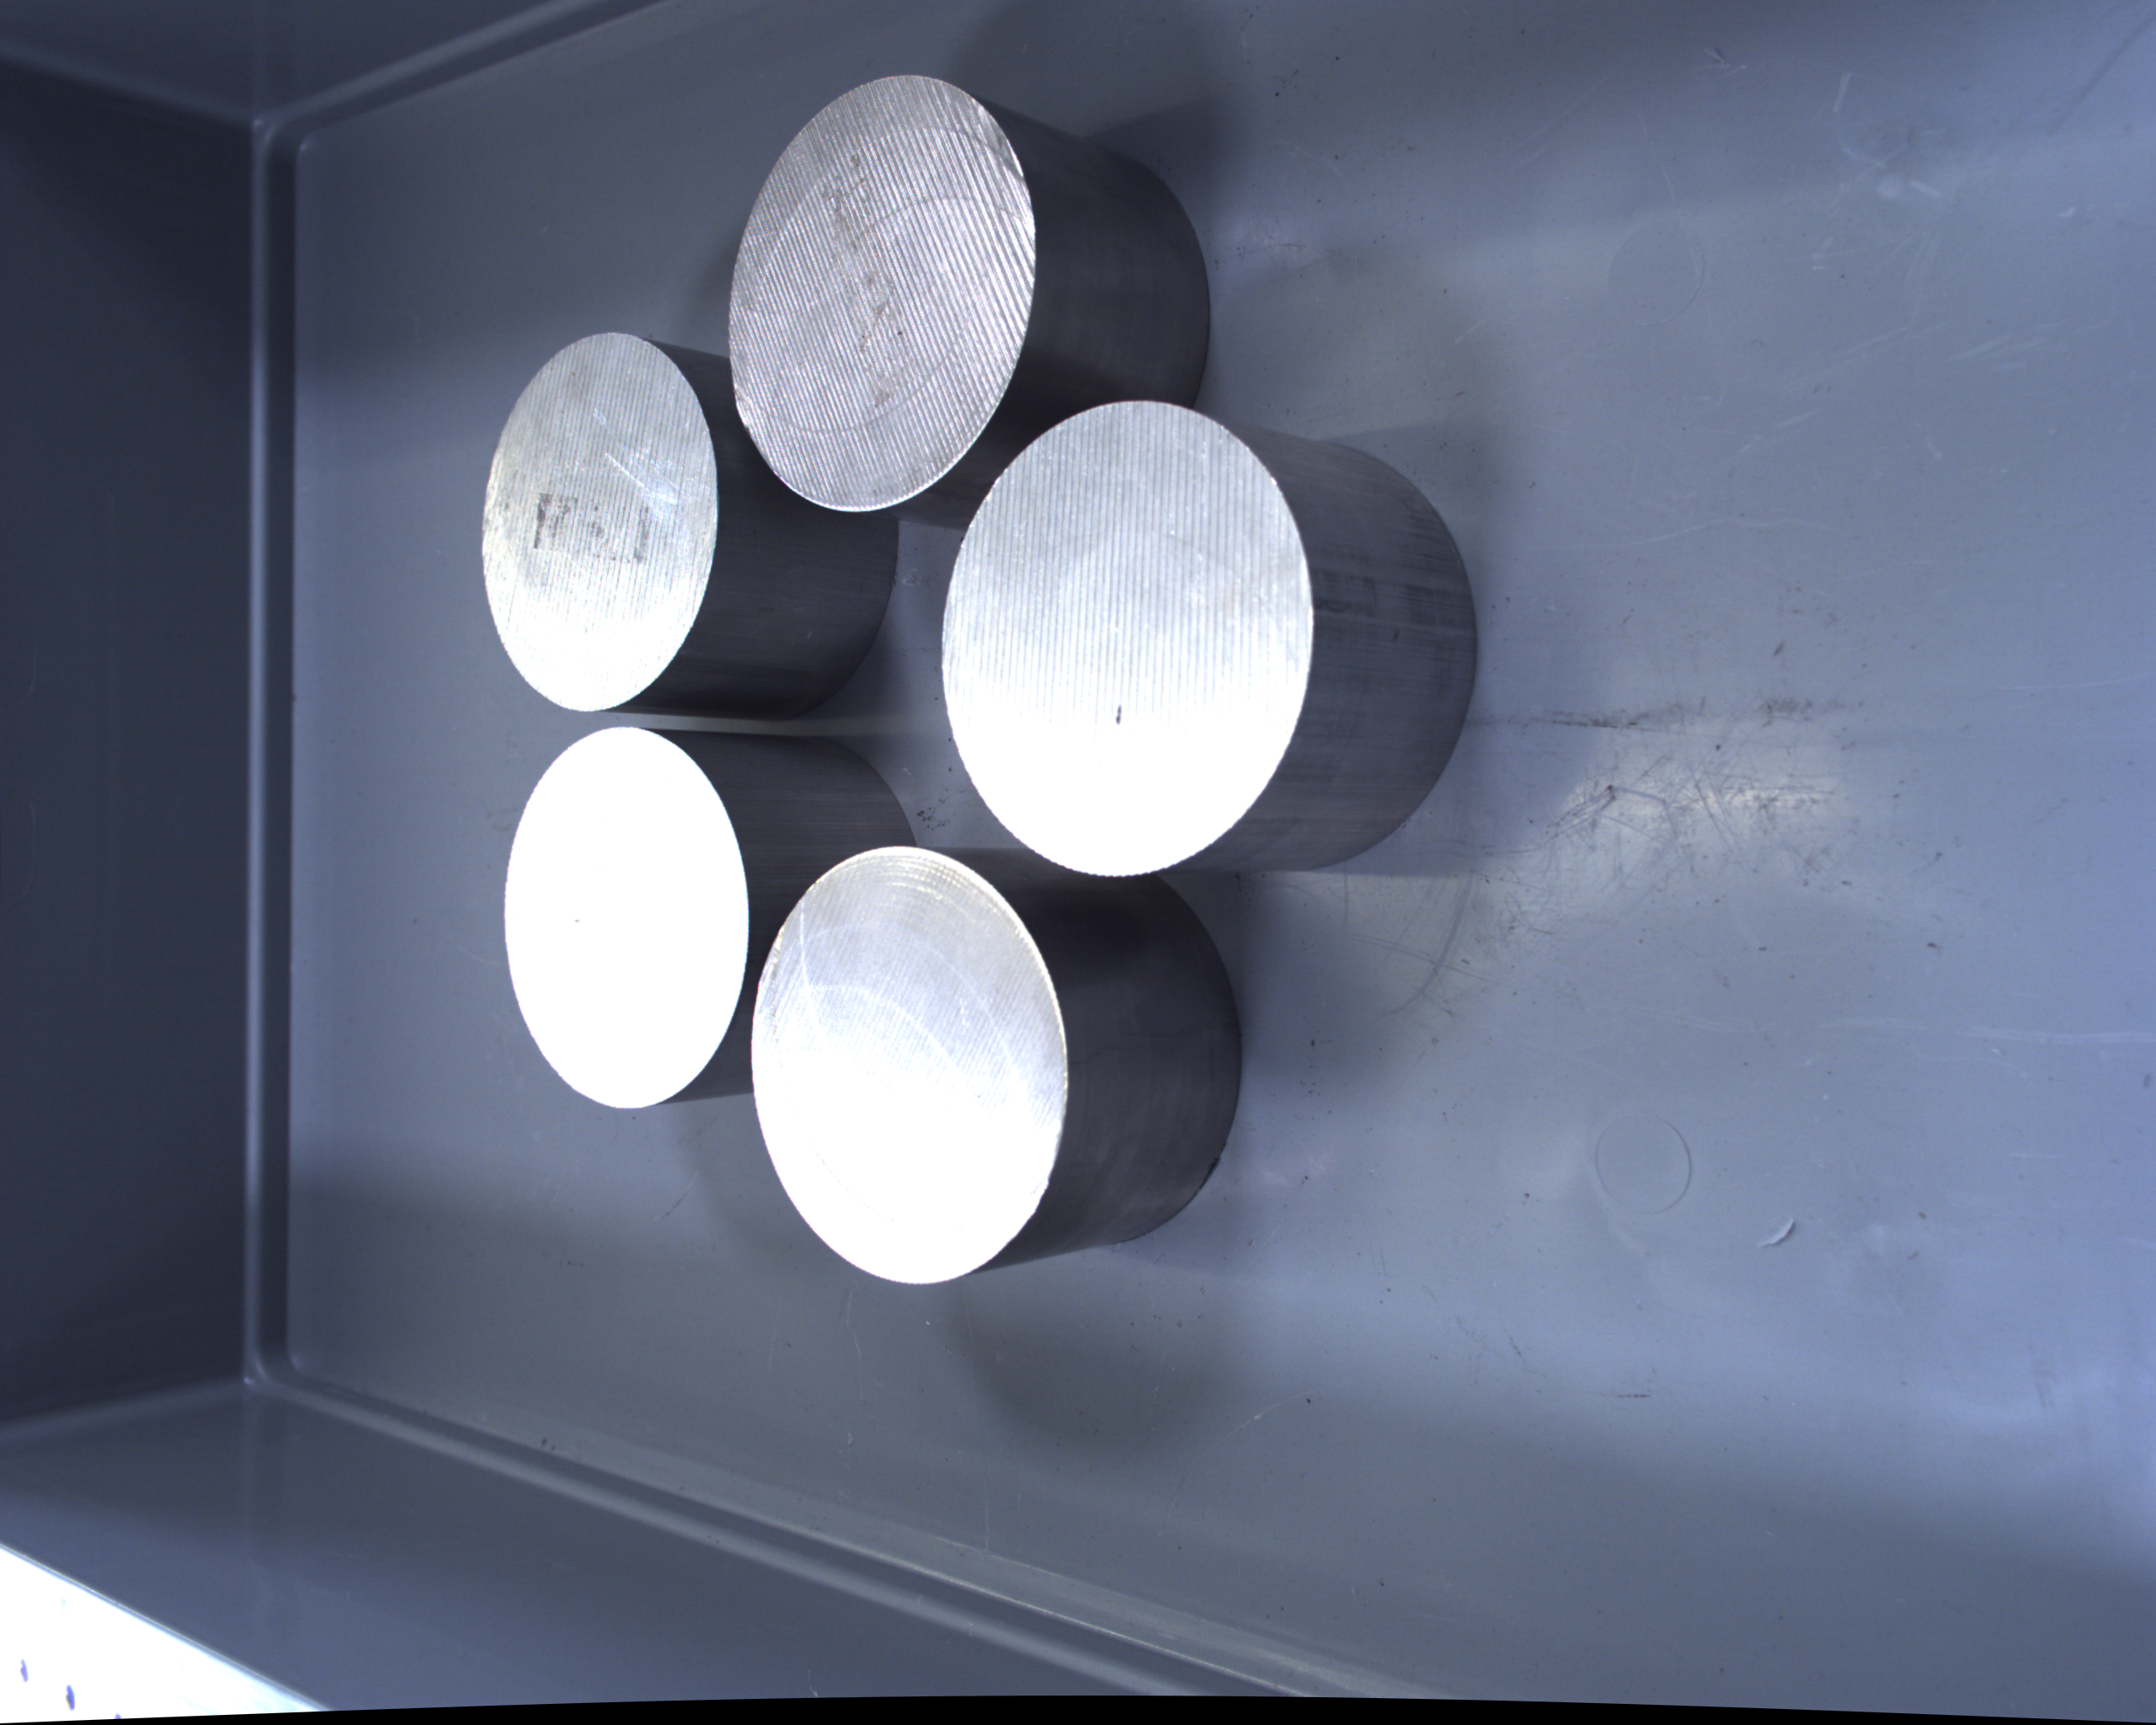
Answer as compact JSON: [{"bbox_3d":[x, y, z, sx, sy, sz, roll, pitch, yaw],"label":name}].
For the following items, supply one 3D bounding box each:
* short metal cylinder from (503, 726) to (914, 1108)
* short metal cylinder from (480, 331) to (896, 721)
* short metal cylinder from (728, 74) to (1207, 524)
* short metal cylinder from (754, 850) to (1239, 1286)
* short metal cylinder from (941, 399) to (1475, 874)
[{"bbox_3d":[-0.080,0.011,0.454,0.080,0.050,0.080,0,90,40],"label":"short metal cylinder"},{"bbox_3d":[-0.087,-0.072,0.460,0.080,0.050,0.080,0,90,40],"label":"short metal cylinder"},{"bbox_3d":[-0.022,-0.106,0.406,0.080,0.050,0.080,0,90,40],"label":"short metal cylinder"},{"bbox_3d":[-0.016,0.037,0.402,0.080,0.050,0.080,0,90,40],"label":"short metal cylinder"},{"bbox_3d":[0.022,-0.038,0.370,0.080,0.050,0.080,0,90,40],"label":"short metal cylinder"}]
